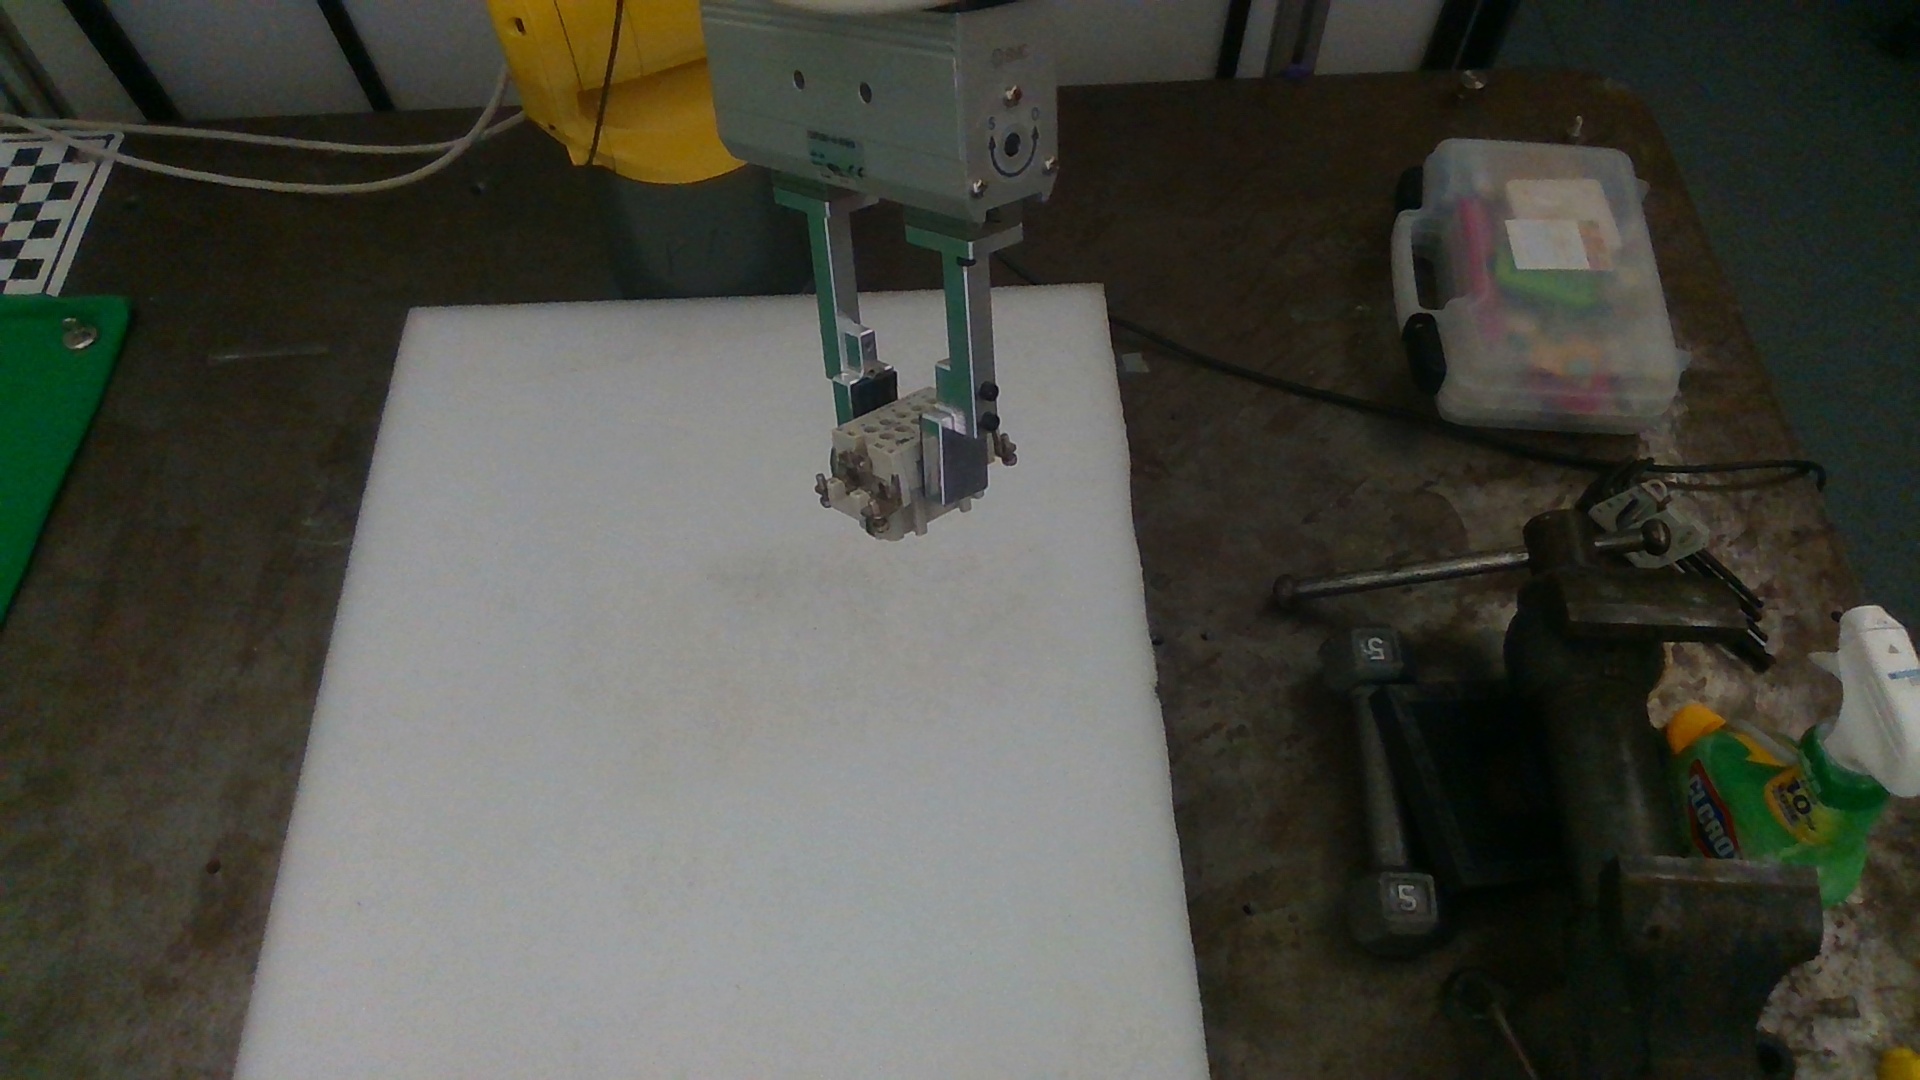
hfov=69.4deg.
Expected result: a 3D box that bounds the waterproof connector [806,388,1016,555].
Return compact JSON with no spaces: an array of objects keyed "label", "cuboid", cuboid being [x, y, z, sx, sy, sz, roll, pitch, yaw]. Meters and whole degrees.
[{"label":"waterproof connector","cuboid":[-0.017,-0.022,0.456,0.069,0.038,0.037,-31,34,-34]}]
